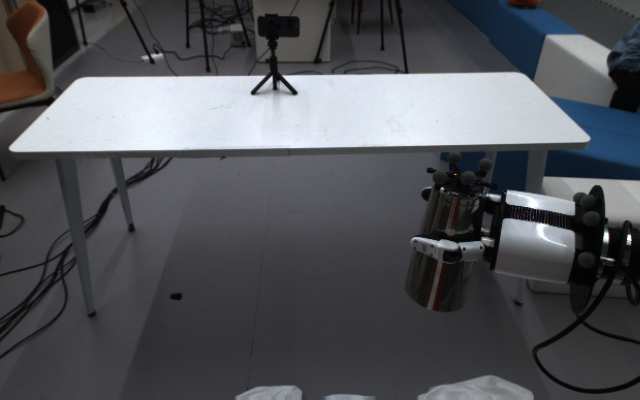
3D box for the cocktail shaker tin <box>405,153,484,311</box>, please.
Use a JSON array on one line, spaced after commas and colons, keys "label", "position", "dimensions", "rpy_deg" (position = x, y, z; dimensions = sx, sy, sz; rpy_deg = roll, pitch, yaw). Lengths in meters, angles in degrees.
[{"label": "cocktail shaker tin", "position": [0.174, 0.053, 0.649], "dimensions": [0.093, 0.170, 0.093], "rpy_deg": [3, 30, -2]}]
